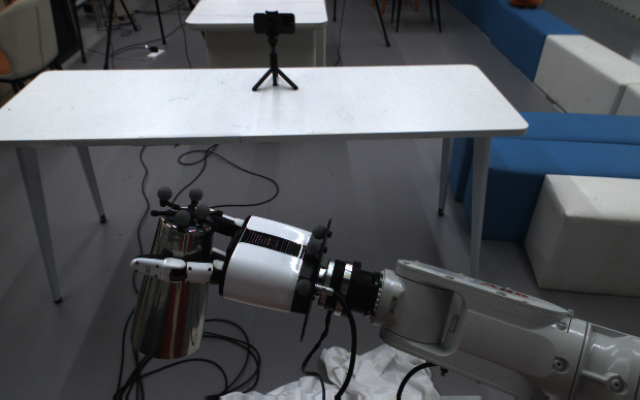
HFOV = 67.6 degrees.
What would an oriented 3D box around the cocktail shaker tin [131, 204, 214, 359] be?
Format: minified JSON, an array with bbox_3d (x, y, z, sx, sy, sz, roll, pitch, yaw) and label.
[{"bbox_3d":[-0.180,0.102,0.610,0.093,0.170,0.093,13,18,-5],"label":"cocktail shaker tin"}]
